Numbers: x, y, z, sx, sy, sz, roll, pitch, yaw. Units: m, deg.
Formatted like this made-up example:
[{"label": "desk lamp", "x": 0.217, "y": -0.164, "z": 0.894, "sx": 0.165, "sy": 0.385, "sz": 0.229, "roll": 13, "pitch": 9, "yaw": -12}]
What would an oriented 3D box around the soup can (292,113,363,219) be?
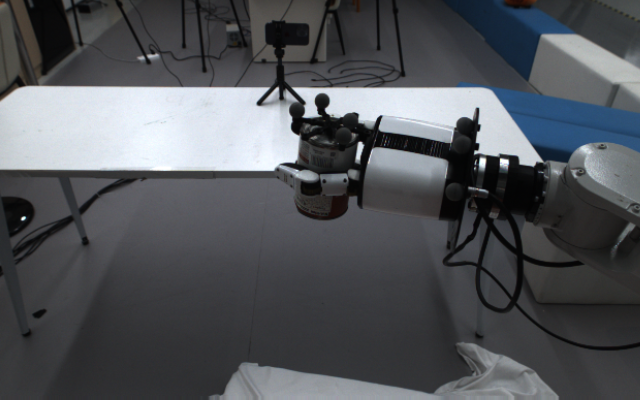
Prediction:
[{"label": "soup can", "x": 0.008, "y": -0.036, "z": 0.564, "sx": 0.067, "sy": 0.101, "sz": 0.067, "roll": 5, "pitch": 36, "yaw": -4}]
